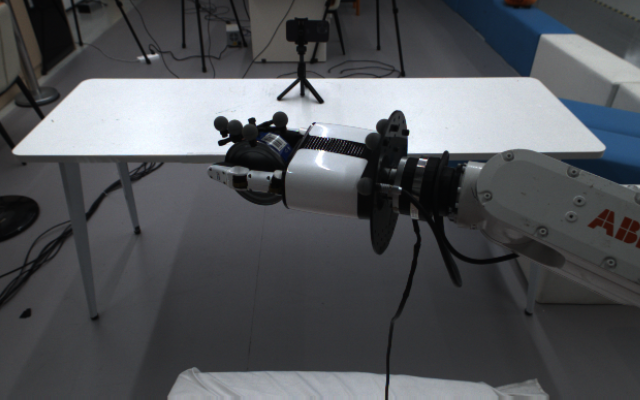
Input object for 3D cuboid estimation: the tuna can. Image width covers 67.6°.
[{"bbox_3d":[-0.067,-0.039,0.580,0.085,0.085,0.034,14,34,17],"label":"tuna can"}]
